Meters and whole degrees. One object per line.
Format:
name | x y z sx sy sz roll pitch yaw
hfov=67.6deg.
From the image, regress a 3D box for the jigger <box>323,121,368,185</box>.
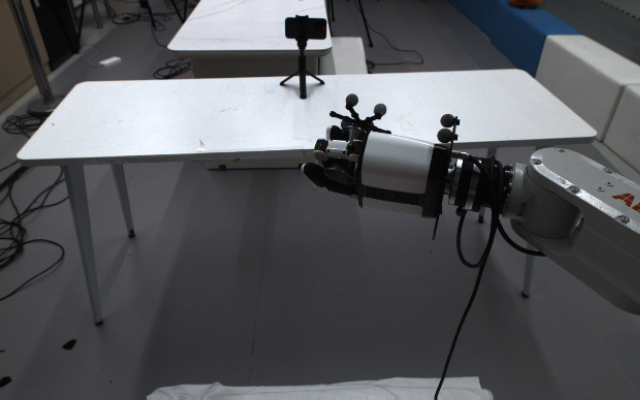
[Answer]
jigger | 0.037 -0.063 0.650 0.043 0.043 0.071 16 70 19
